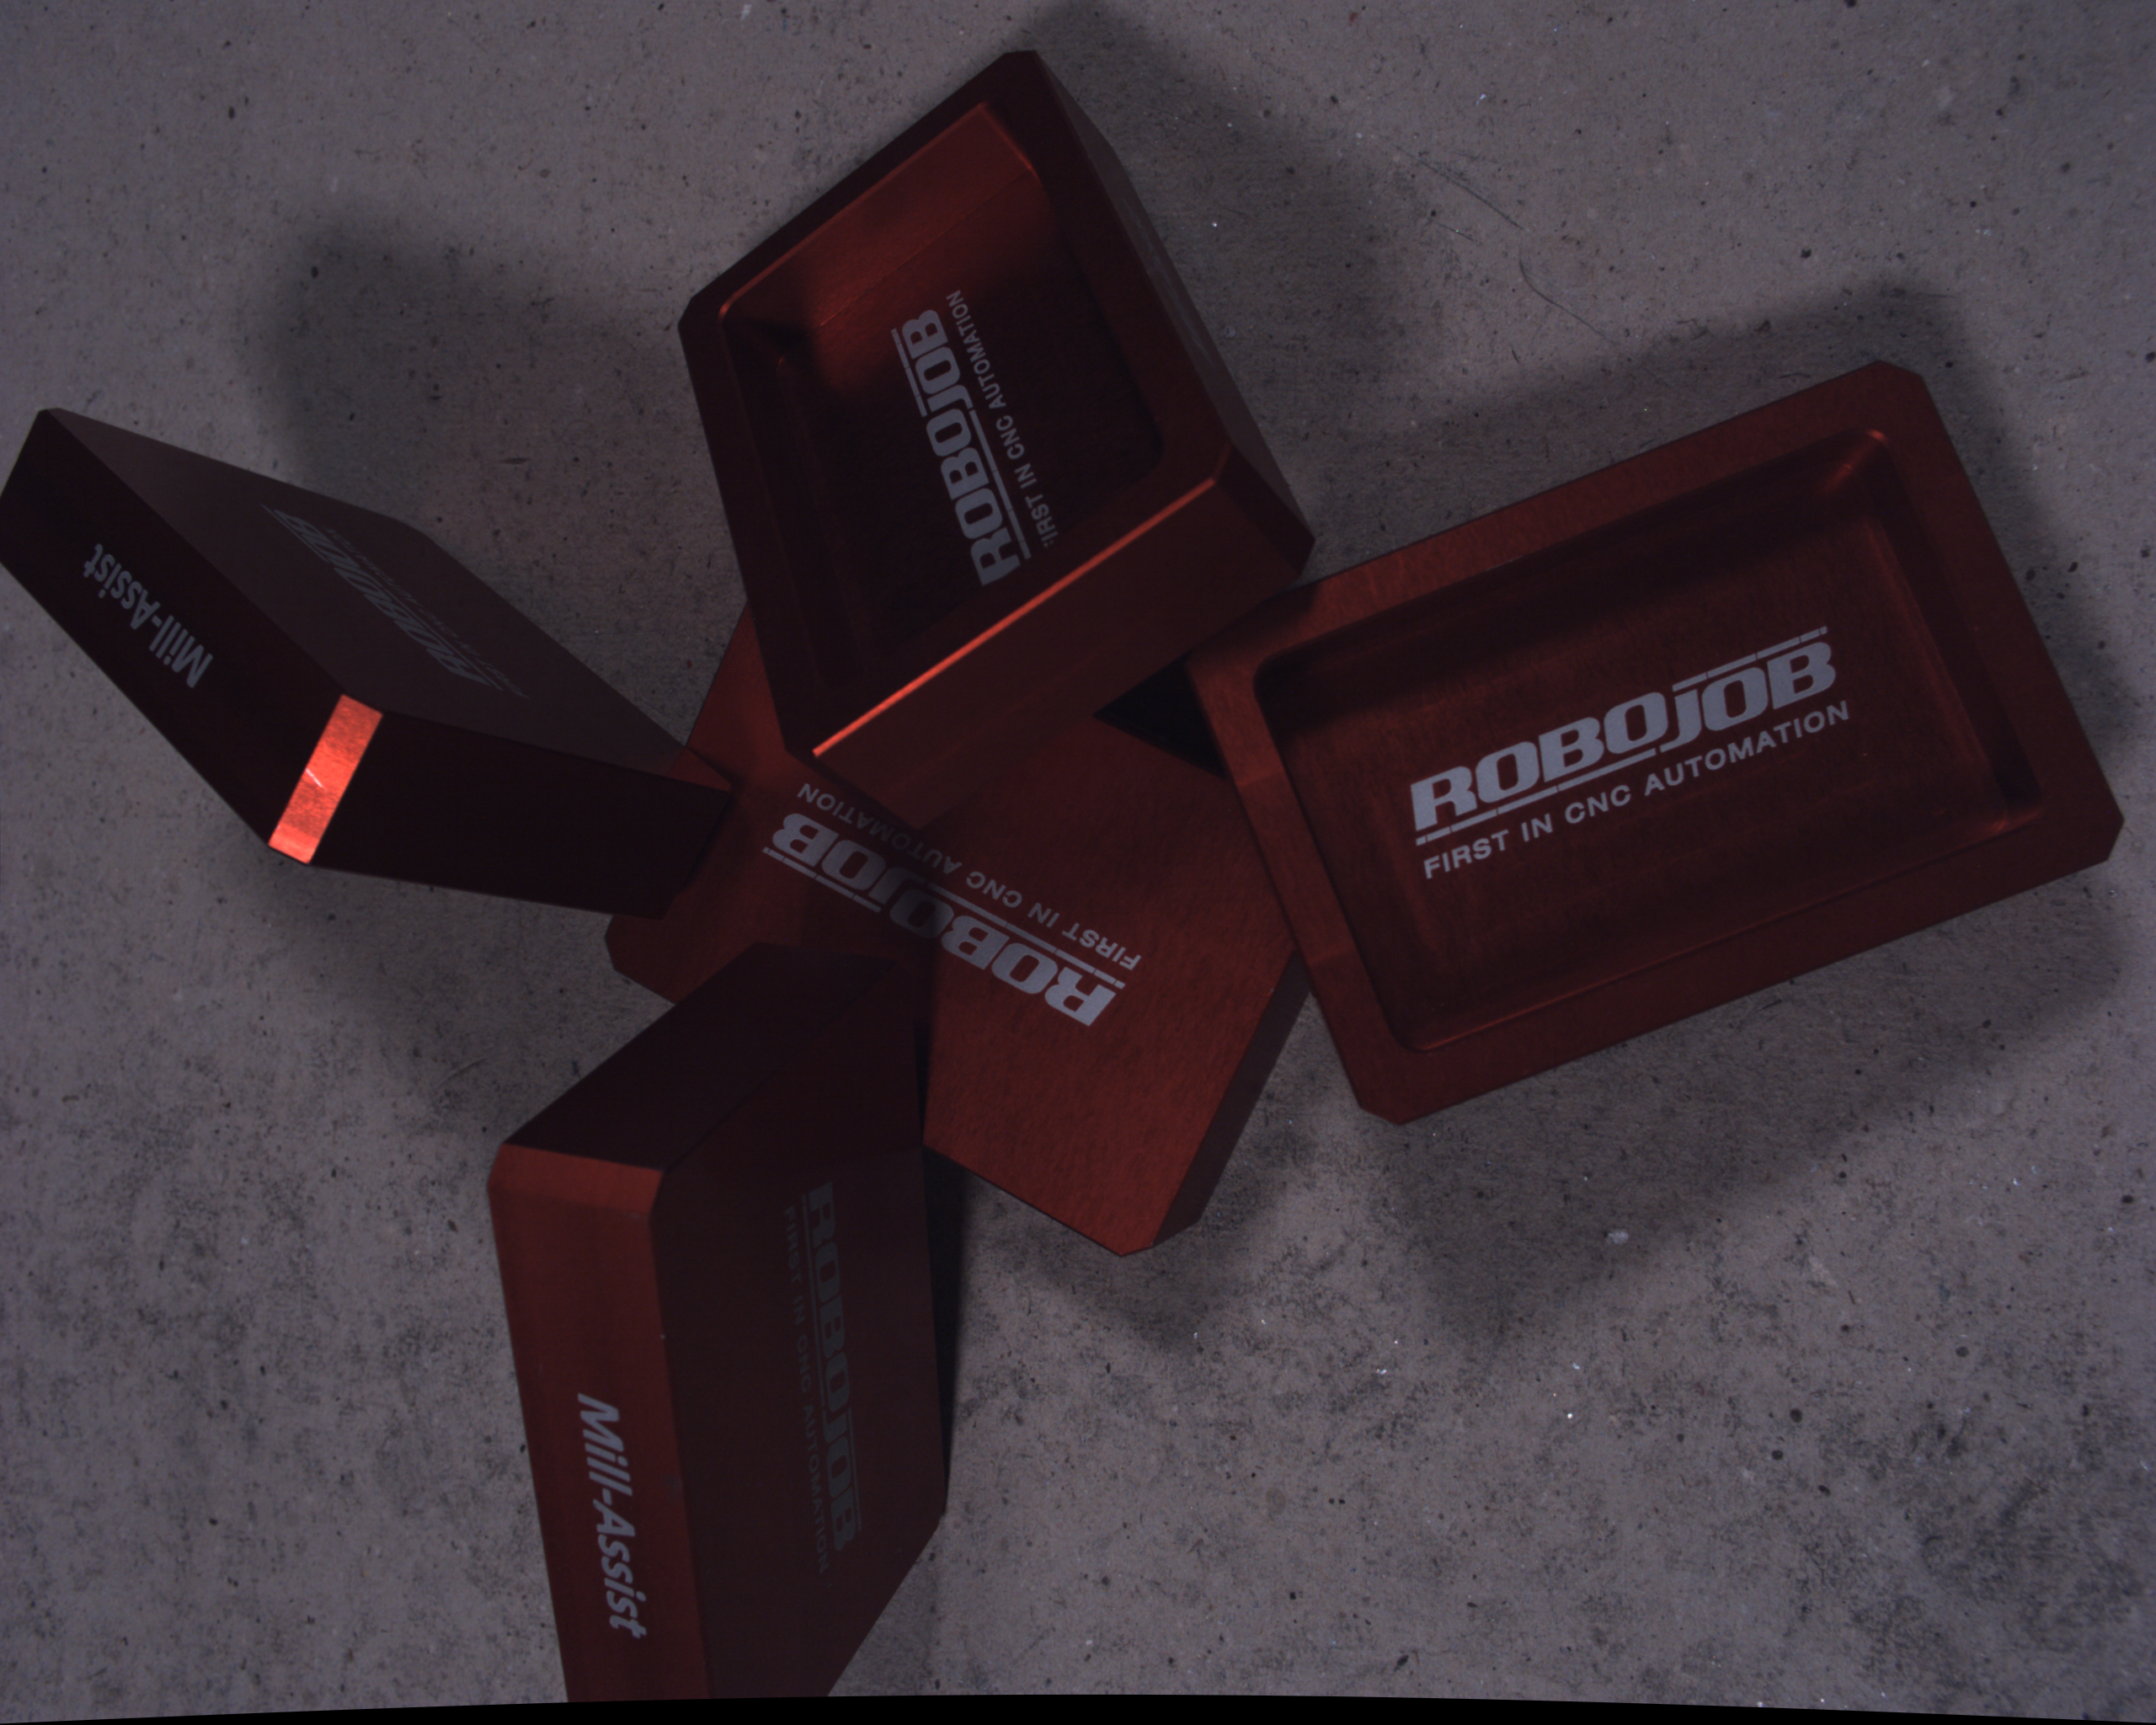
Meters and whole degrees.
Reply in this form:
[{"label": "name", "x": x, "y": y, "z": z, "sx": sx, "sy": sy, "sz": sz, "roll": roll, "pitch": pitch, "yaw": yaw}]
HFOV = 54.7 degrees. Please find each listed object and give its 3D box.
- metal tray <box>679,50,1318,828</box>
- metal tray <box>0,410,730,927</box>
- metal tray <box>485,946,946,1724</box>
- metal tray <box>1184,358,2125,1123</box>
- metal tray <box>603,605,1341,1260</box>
[{"label": "metal tray", "x": -0.021, "y": -0.081, "z": 0.383, "sx": 0.090, "sy": 0.030, "sz": 0.130, "roll": -33, "pitch": 51, "yaw": 16}, {"label": "metal tray", "x": -0.141, "y": -0.038, "z": 0.407, "sx": 0.130, "sy": 0.090, "sz": 0.030, "roll": 37, "pitch": 102, "yaw": 33}, {"label": "metal tray", "x": -0.059, "y": 0.091, "z": 0.375, "sx": 0.030, "sy": 0.090, "sz": 0.129, "roll": 6, "pitch": 113, "yaw": 20}, {"label": "metal tray", "x": 0.094, "y": -0.019, "z": 0.357, "sx": 0.131, "sy": 0.030, "sz": 0.090, "roll": -21, "pitch": 83, "yaw": 3}, {"label": "metal tray", "x": -0.020, "y": 0.008, "z": 0.413, "sx": 0.130, "sy": 0.030, "sz": 0.090, "roll": 27, "pitch": 99, "yaw": 17}]
